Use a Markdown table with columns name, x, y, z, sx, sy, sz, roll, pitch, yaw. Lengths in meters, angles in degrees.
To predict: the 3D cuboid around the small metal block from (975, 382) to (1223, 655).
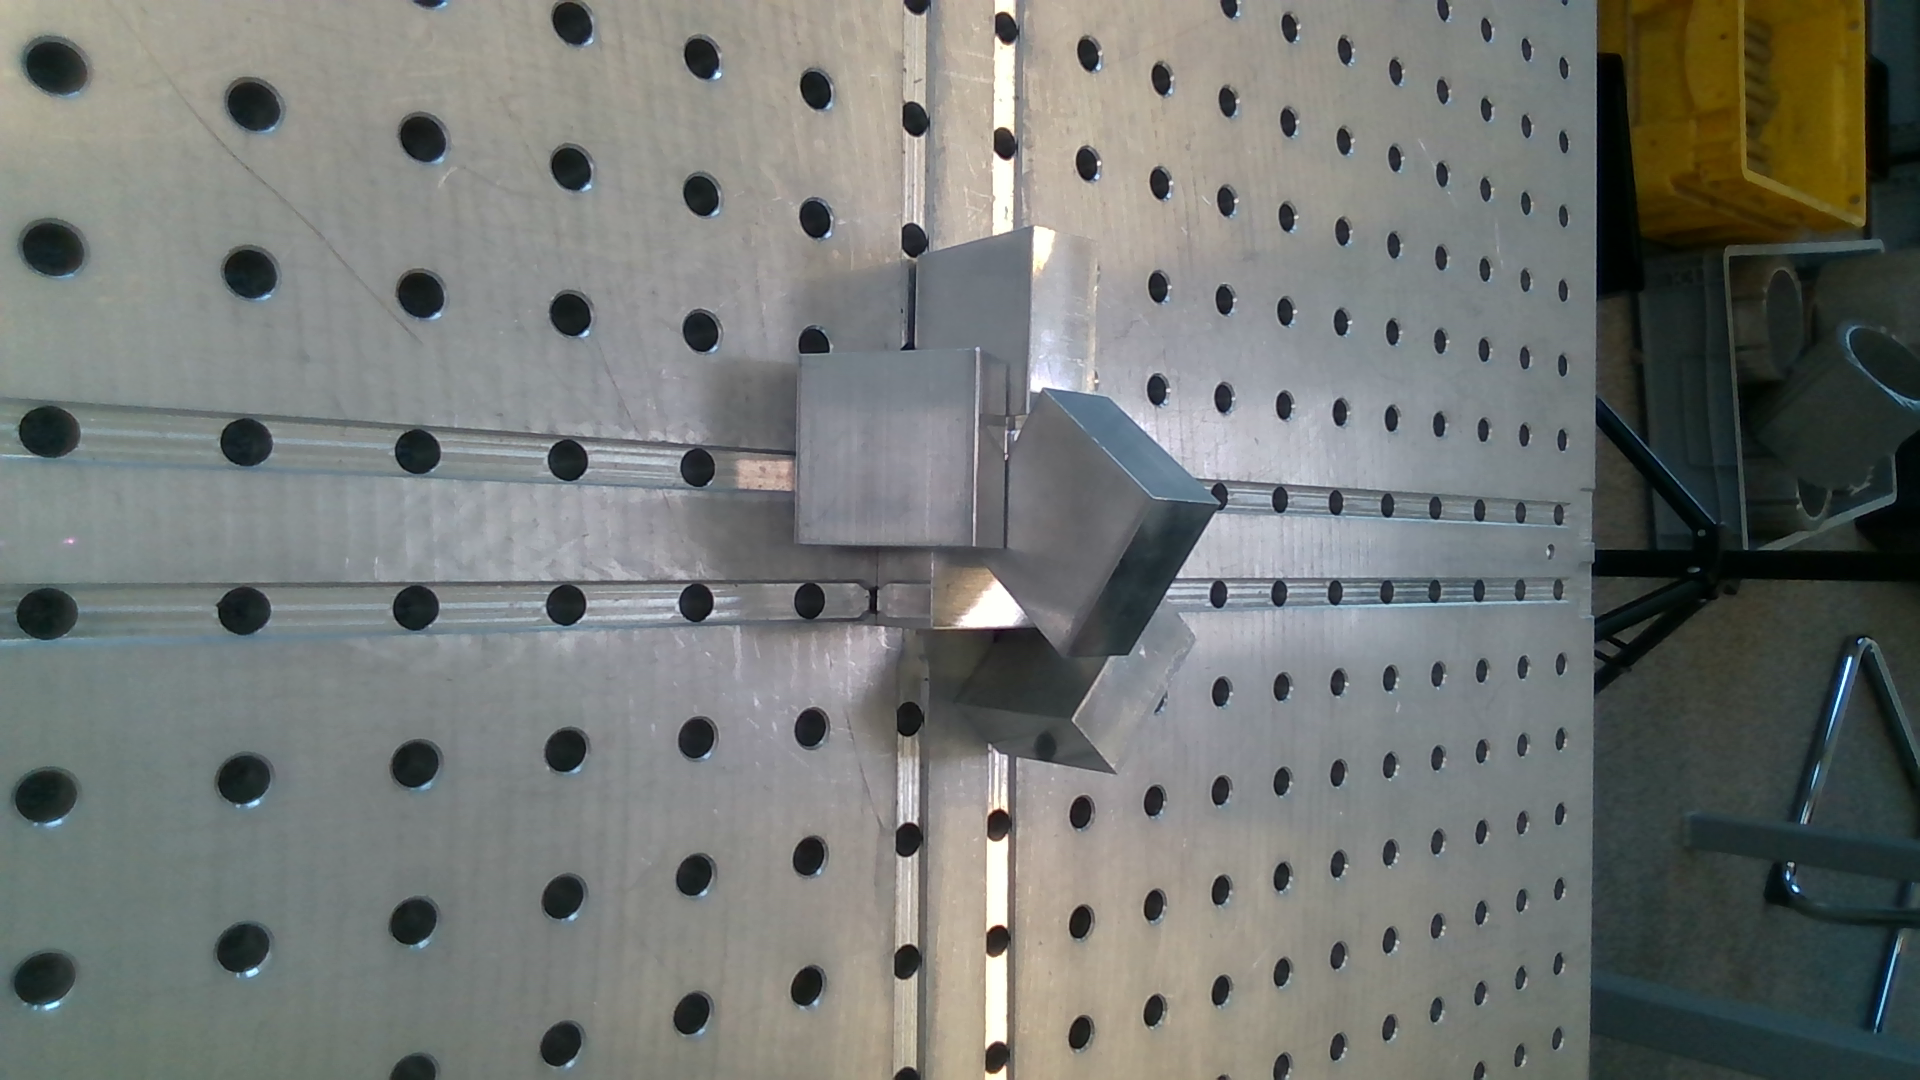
| name | x | y | z | sx | sy | sz | roll | pitch | yaw |
| --- | --- | --- | --- | --- | --- | --- | --- | --- | --- |
| small metal block | 0.033 | -0.005 | 0.359 | 0.025 | 0.050 | 0.050 | 3 | 125 | -40 |

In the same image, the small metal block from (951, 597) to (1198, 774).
| name | x | y | z | sx | sy | sz | roll | pitch | yaw |
| --- | --- | --- | --- | --- | --- | --- | --- | --- | --- |
| small metal block | 0.034 | 0.038 | 0.406 | 0.025 | 0.050 | 0.050 | 51 | 60 | -29 |

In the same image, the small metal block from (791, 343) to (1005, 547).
| name | x | y | z | sx | sy | sz | roll | pitch | yaw |
| --- | --- | --- | --- | --- | --- | --- | --- | --- | --- |
| small metal block | -0.016 | -0.024 | 0.361 | 0.025 | 0.050 | 0.050 | 3 | 87 | -72 |

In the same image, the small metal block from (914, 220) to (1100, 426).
| name | x | y | z | sx | sy | sz | roll | pitch | yaw |
| --- | --- | --- | --- | --- | --- | --- | --- | --- | --- |
| small metal block | 0.012 | -0.058 | 0.387 | 0.025 | 0.050 | 0.050 | 2 | 88 | -40 |

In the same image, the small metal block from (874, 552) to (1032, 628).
| name | x | y | z | sx | sy | sz | roll | pitch | yaw |
| --- | --- | --- | --- | --- | --- | --- | --- | --- | --- |
| small metal block | 0.004 | -0.001 | 0.397 | 0.050 | 0.025 | 0.050 | 2 | 90 | -40 |
